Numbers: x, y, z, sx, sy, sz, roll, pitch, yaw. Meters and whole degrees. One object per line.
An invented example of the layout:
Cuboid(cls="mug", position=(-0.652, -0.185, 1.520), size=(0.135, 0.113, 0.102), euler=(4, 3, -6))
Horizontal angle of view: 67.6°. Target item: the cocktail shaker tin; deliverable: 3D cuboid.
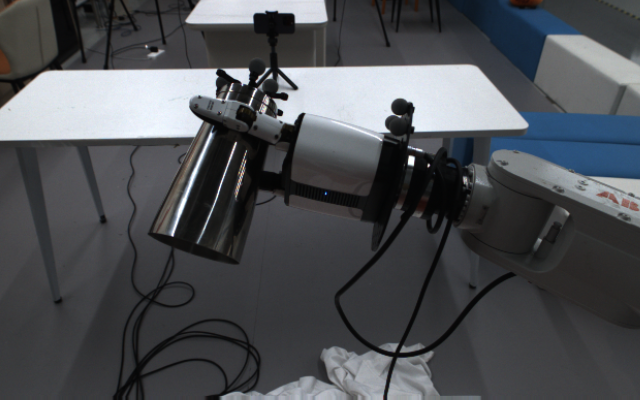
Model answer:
Cuboid(cls="cocktail shaker tin", position=(-0.098, -0.032, 0.497), size=(0.093, 0.093, 0.170), euler=(12, 72, 14))
